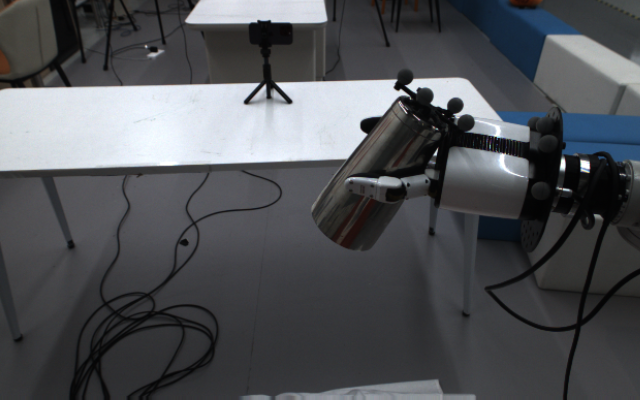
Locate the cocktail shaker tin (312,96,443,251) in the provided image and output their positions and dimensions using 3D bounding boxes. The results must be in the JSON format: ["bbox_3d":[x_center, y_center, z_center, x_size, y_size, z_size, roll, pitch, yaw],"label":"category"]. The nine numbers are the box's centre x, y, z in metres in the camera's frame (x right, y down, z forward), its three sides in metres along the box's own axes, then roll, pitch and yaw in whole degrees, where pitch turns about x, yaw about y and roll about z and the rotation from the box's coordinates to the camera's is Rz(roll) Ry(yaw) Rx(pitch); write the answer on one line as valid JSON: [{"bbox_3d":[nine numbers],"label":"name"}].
[{"bbox_3d":[0.071,-0.035,0.563,0.093,0.170,0.093,26,32,-17],"label":"cocktail shaker tin"}]
